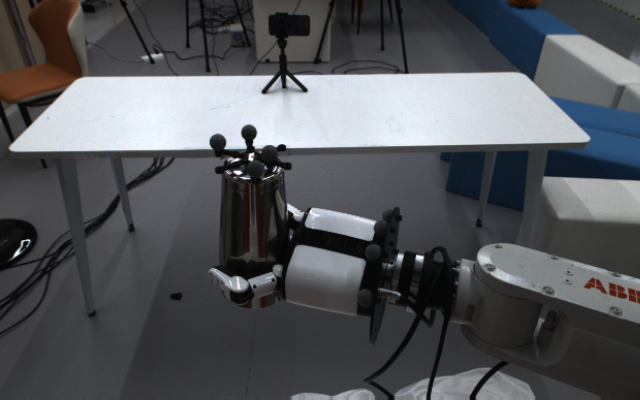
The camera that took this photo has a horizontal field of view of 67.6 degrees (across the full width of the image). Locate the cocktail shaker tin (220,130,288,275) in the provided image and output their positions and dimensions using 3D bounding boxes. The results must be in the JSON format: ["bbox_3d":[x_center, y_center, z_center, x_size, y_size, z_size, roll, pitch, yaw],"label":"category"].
[{"bbox_3d":[-0.075,0.033,0.564,0.093,0.170,0.093,3,34,-2],"label":"cocktail shaker tin"}]
